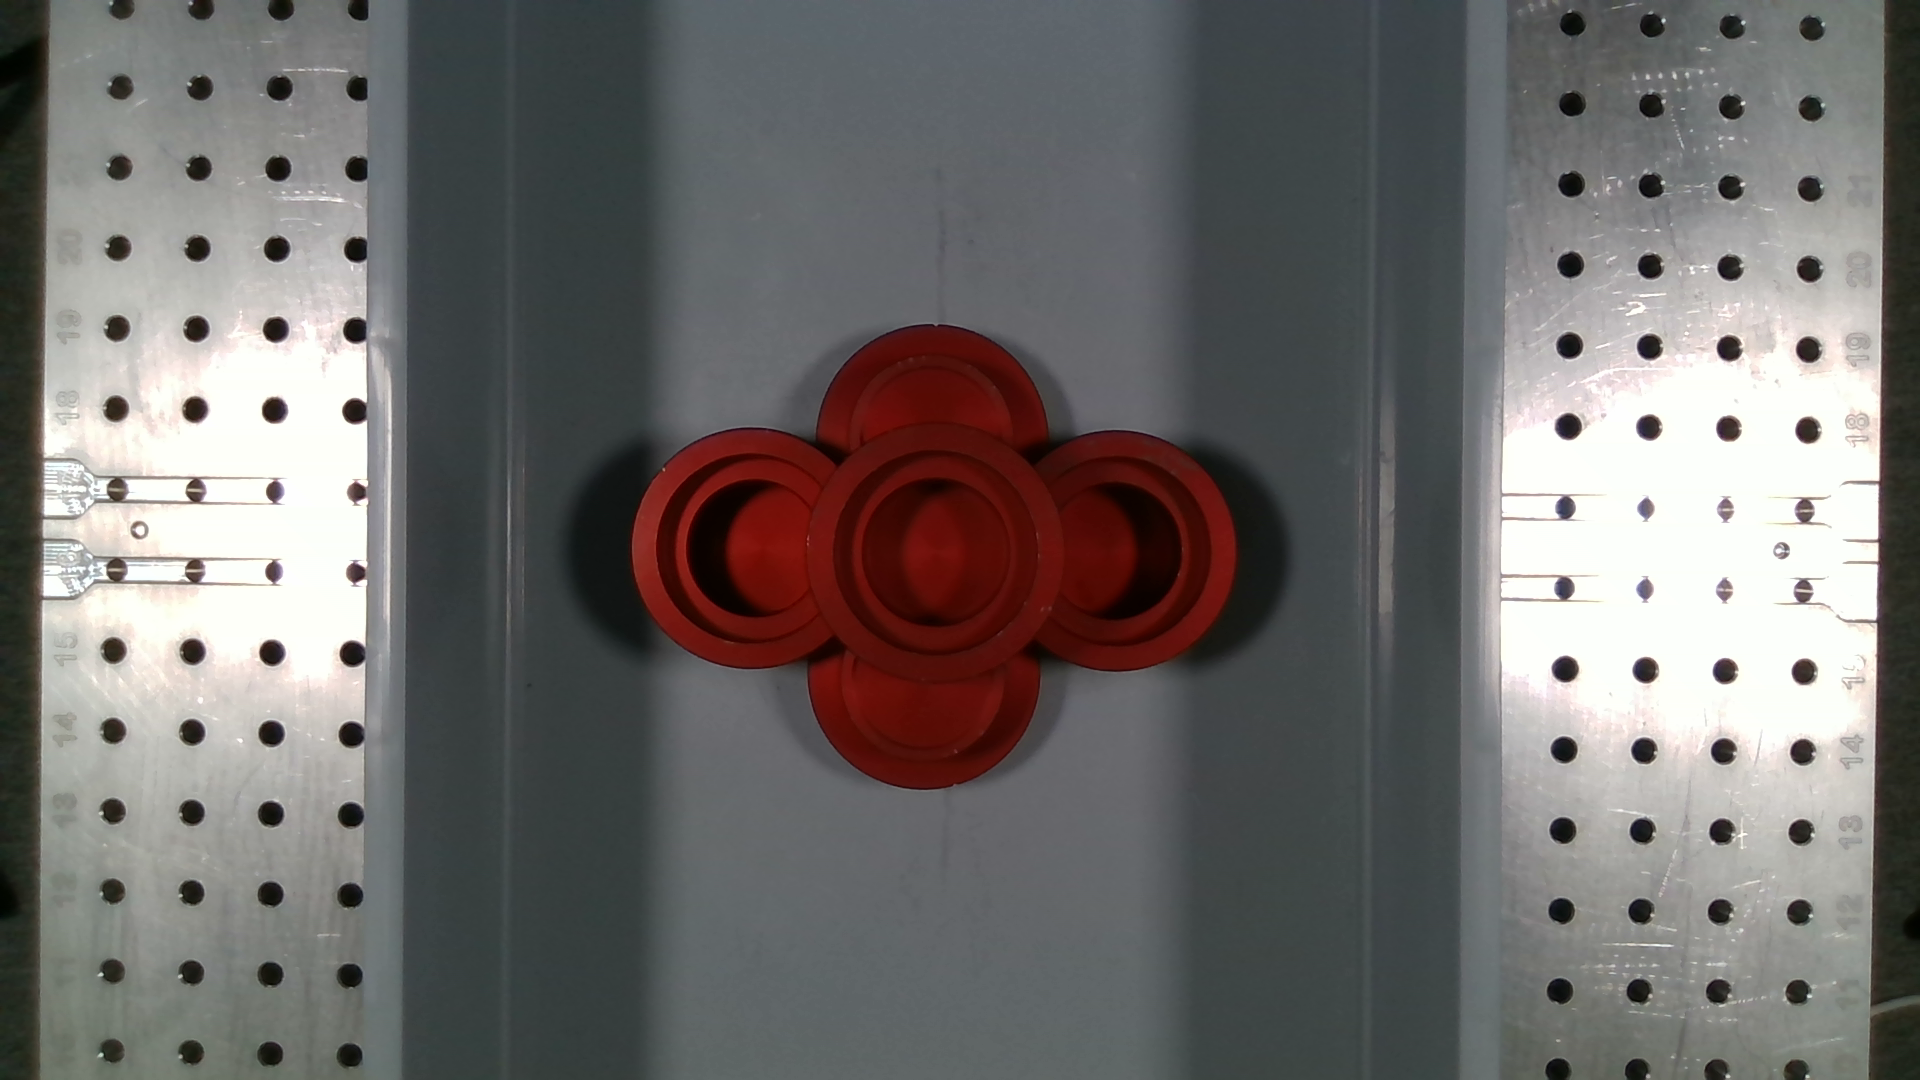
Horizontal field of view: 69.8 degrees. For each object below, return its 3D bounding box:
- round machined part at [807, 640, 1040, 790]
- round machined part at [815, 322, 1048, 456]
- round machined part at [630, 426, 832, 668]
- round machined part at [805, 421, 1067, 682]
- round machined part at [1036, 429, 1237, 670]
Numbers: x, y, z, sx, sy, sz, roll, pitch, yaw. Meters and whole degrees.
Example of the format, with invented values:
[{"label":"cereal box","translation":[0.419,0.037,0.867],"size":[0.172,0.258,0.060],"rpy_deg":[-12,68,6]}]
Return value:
[{"label":"round machined part","translation":[-0.015,0.056,0.577],"size":[0.098,0.042,0.098],"rpy_deg":[0,90,0]},{"label":"round machined part","translation":[-0.012,-0.043,0.577],"size":[0.098,0.042,0.098],"rpy_deg":[0,90,0]},{"label":"round machined part","translation":[-0.085,0.003,0.577],"size":[0.098,0.042,0.098],"rpy_deg":[0,90,0]},{"label":"round machined part","translation":[-0.009,0.004,0.535],"size":[0.098,0.042,0.098],"rpy_deg":[0,90,0]},{"label":"round machined part","translation":[0.063,0.004,0.577],"size":[0.098,0.042,0.098],"rpy_deg":[0,90,0]}]
